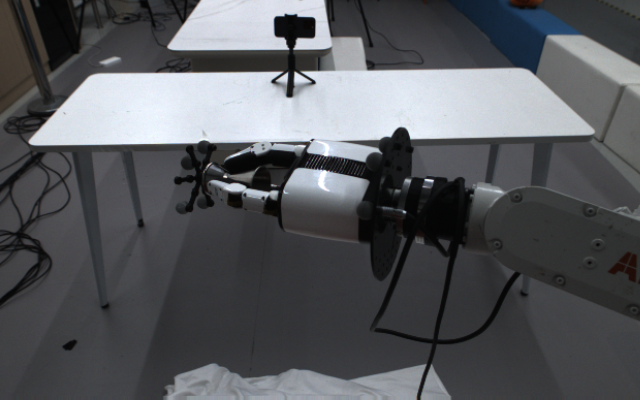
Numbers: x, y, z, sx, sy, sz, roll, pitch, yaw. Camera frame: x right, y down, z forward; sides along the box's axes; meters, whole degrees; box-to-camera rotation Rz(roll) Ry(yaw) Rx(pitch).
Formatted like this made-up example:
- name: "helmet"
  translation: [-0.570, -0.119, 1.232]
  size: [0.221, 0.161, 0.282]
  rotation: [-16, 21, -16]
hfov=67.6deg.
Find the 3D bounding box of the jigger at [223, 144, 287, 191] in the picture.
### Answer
- name: "jigger"
  translation: [-0.091, -0.024, 0.562]
  size: [0.071, 0.043, 0.043]
  rotation: [7, 34, 23]
